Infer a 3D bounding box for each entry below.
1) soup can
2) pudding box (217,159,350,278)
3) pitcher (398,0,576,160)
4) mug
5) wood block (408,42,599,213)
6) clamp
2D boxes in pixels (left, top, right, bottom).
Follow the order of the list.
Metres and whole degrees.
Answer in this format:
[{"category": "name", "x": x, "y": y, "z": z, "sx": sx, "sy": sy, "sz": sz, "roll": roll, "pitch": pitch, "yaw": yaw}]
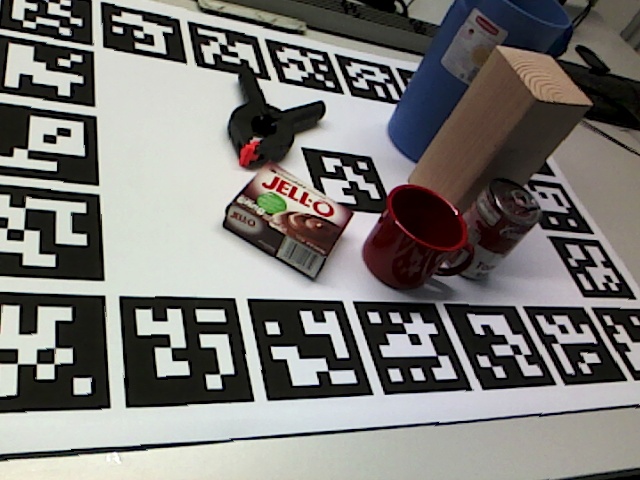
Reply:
[{"category": "soup can", "x": 0.193, "y": -0.011, "z": 0.702, "sx": 0.067, "sy": 0.102, "sz": 0.068, "roll": 15, "pitch": 47, "yaw": -17}, {"category": "pudding box", "x": -0.037, "y": -0.023, "z": 0.643, "sx": 0.114, "sy": 0.038, "sz": 0.090, "roll": 30, "pitch": 46, "yaw": 2}, {"category": "pitcher", "x": 0.205, "y": -0.214, "z": 0.801, "sx": 0.188, "sy": 0.242, "sz": 0.134, "roll": 1, "pitch": 48, "yaw": -24}, {"category": "mug", "x": 0.111, "y": 0.006, "z": 0.658, "sx": 0.117, "sy": 0.081, "sz": 0.093, "roll": 29, "pitch": 40, "yaw": 1}, {"category": "wood block", "x": 0.207, "y": -0.112, "z": 0.728, "sx": 0.089, "sy": 0.206, "sz": 0.091, "roll": 4, "pitch": 49, "yaw": -31}, {"category": "clamp", "x": -0.058, "y": -0.143, "z": 0.752, "sx": 0.121, "sy": 0.036, "sz": 0.165, "roll": 30, "pitch": 42, "yaw": -10}]
